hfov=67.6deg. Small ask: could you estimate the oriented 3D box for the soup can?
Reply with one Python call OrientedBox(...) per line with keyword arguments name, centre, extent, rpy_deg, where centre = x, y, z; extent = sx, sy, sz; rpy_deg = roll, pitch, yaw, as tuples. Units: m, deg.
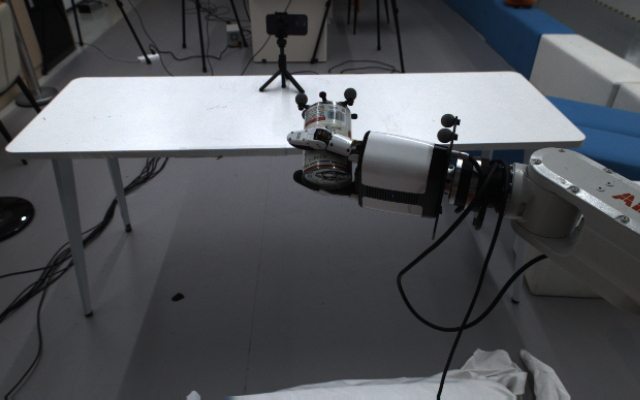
OrientedBox(name="soup can", centre=(0.011, -0.074, 0.656), extent=(0.067, 0.067, 0.101), rpy_deg=(1, 68, -1))
